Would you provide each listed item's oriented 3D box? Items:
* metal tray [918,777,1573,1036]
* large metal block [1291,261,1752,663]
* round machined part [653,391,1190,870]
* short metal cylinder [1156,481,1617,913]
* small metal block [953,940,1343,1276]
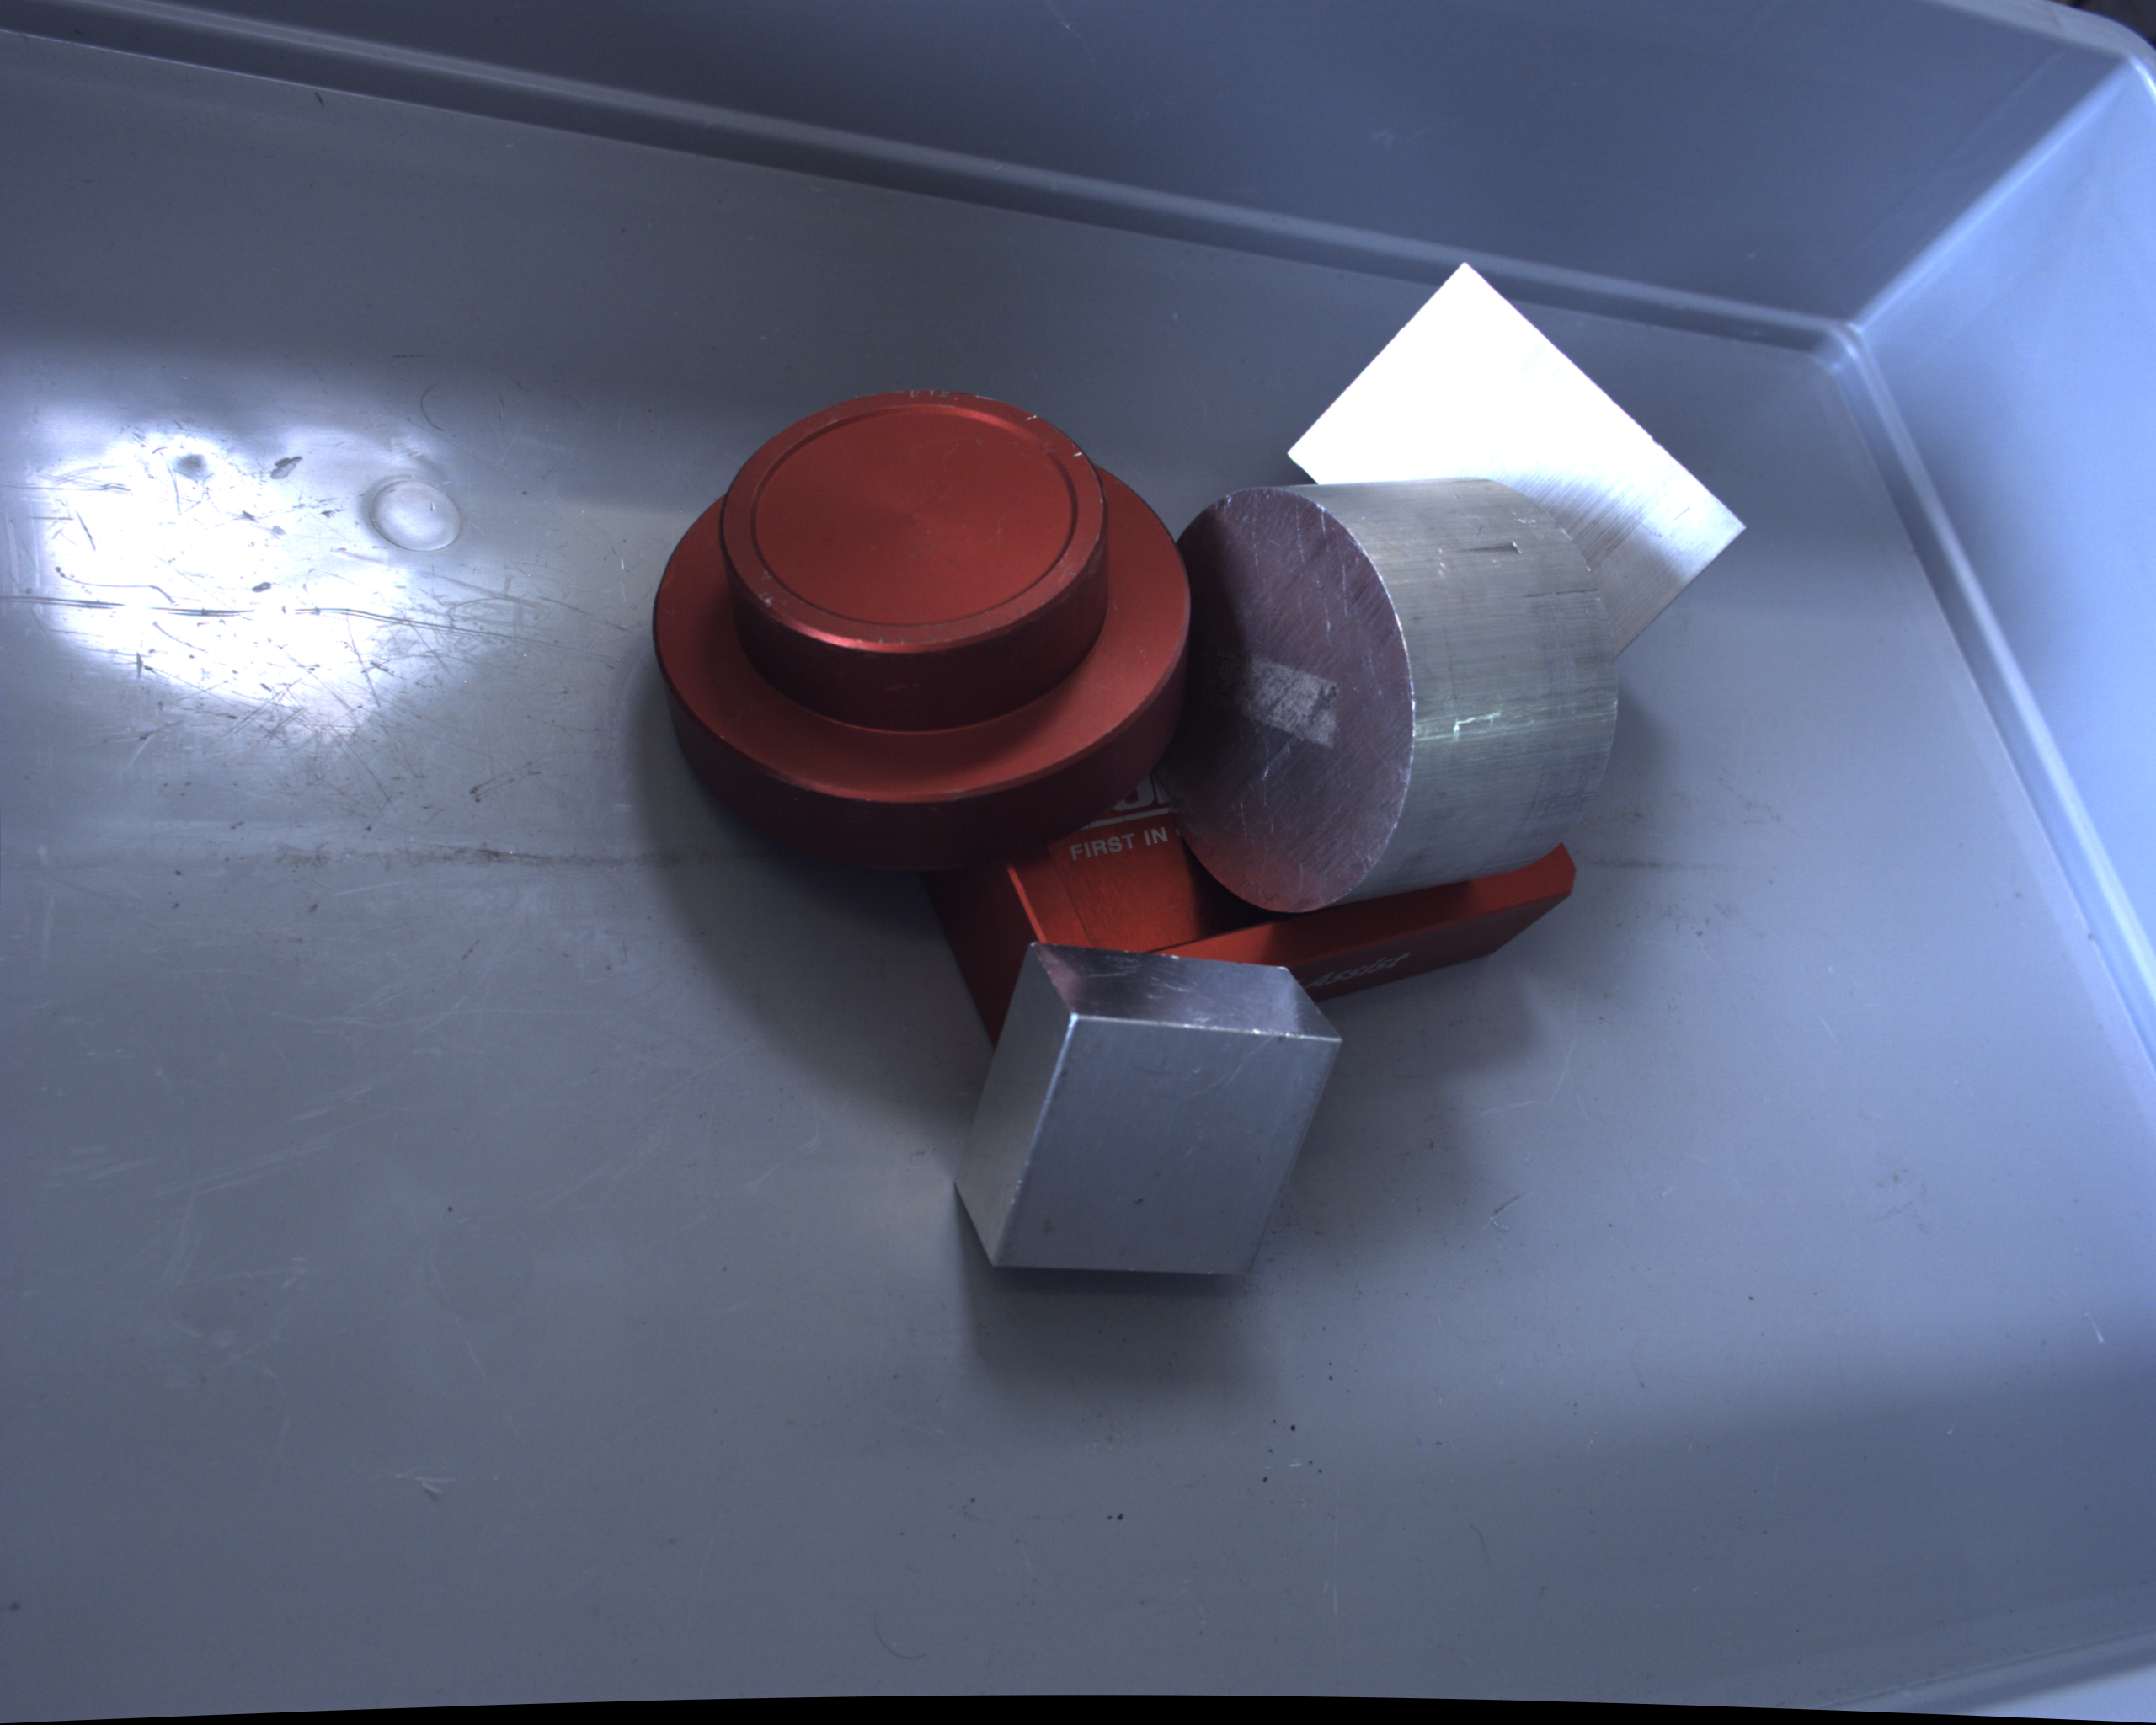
[{"bbox_3d":[0.029,-0.014,0.427,0.131,0.030,0.090,-12,68,-33],"label":"metal tray"},{"bbox_3d":[0.098,-0.083,0.466,0.080,0.050,0.080,44,15,1],"label":"large metal block"},{"bbox_3d":[-0.029,-0.049,0.383,0.099,0.042,0.098,-1,51,1],"label":"round machined part"},{"bbox_3d":[0.056,-0.033,0.403,0.050,0.080,0.080,-9,67,-33],"label":"short metal cylinder"},{"bbox_3d":[0.011,0.044,0.364,0.050,0.050,0.025,7,24,-24],"label":"small metal block"}]
